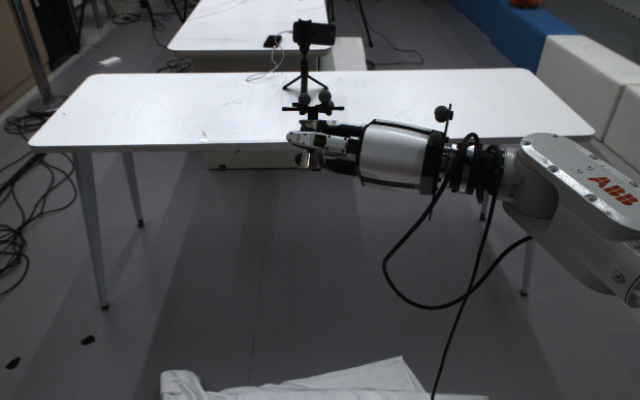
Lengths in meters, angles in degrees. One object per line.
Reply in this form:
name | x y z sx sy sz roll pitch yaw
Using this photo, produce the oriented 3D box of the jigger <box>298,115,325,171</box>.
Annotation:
jigger | -0.010 -0.080 0.694 0.043 0.071 0.043 -1 2 0
